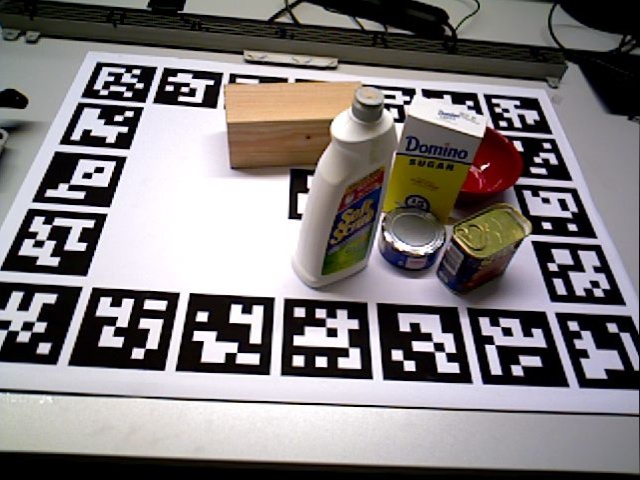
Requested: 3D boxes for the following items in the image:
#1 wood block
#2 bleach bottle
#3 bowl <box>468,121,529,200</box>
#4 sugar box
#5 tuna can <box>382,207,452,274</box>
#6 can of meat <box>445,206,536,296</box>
[{"bbox_3d":[-0.035,-0.166,0.783,0.204,0.092,0.090,-4,56,-11],"label":"wood block"},{"bbox_3d":[0.035,-0.055,0.590,0.101,0.256,0.067,-18,54,-20],"label":"bleach bottle"},{"bbox_3d":[0.221,-0.109,0.784,0.161,0.056,0.159,0,50,-1],"label":"bowl"},{"bbox_3d":[0.150,-0.091,0.678,0.093,0.180,0.044,18,52,12],"label":"sugar box"},{"bbox_3d":[0.122,0.000,0.694,0.085,0.034,0.084,2,54,-4],"label":"tuna can"},{"bbox_3d":[0.209,0.012,0.669,0.100,0.086,0.057,-21,53,-24],"label":"can of meat"}]
